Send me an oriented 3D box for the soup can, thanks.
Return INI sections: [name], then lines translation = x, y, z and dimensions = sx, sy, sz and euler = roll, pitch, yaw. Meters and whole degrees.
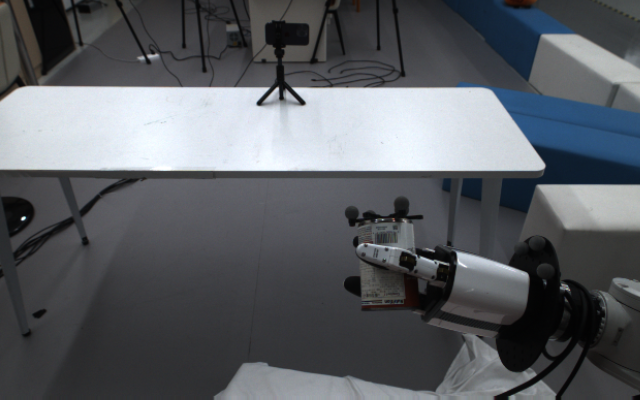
[soup can]
translation = 0.080, 0.074, 0.566
dimensions = 0.067, 0.067, 0.101
euler = -1, 76, -4
